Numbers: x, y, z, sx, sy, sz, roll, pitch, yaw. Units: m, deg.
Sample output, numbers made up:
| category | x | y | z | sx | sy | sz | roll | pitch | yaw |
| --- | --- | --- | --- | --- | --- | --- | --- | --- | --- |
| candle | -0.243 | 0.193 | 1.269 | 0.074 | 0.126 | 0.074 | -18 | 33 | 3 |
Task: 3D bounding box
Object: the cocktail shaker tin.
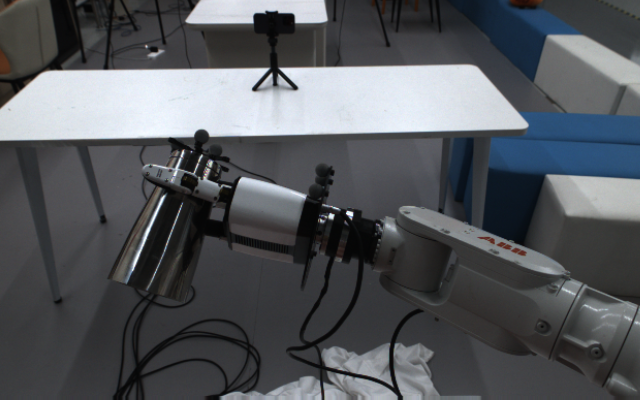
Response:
| category | x | y | z | sx | sy | sz | roll | pitch | yaw |
| --- | --- | --- | --- | --- | --- | --- | --- | --- | --- |
| cocktail shaker tin | -0.178 | 0.027 | 0.589 | 0.093 | 0.093 | 0.170 | 12 | 72 | 14 |
